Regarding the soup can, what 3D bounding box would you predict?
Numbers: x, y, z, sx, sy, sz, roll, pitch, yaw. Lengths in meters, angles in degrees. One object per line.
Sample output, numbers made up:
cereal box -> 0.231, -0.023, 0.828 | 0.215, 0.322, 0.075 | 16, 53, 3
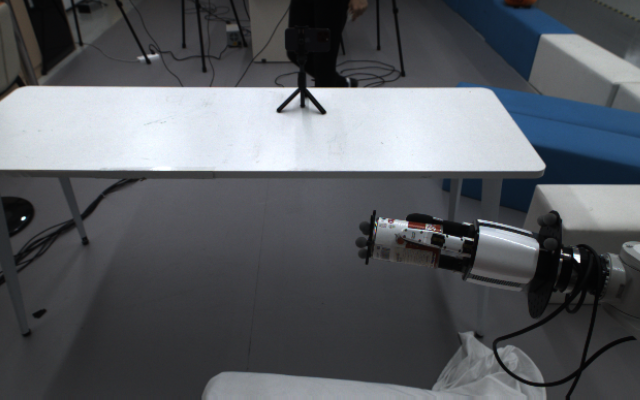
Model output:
soup can -> 0.136, 0.065, 0.748 | 0.101, 0.067, 0.067 | 7, 35, 10
